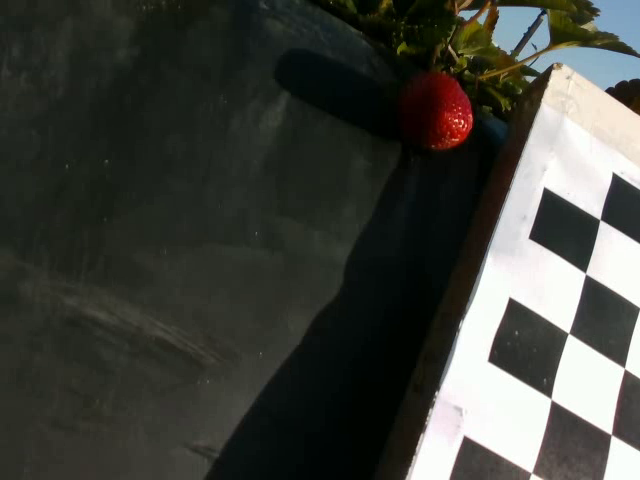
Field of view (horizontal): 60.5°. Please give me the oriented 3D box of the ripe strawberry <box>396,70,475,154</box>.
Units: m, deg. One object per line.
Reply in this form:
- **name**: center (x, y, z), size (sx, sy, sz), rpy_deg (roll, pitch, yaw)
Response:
- **ripe strawberry**: center (0.037, -0.039, 0.171), size (0.034, 0.033, 0.038), rpy_deg (30, 12, -8)
